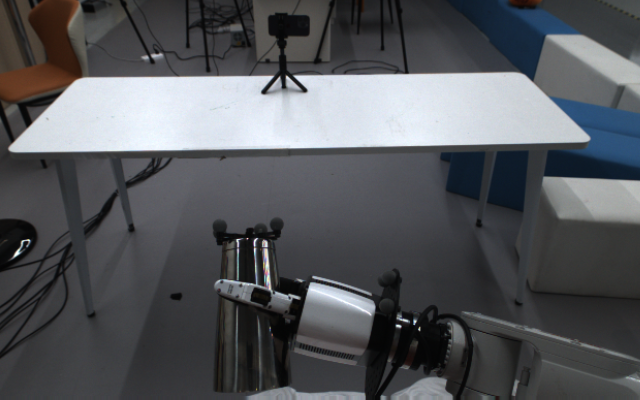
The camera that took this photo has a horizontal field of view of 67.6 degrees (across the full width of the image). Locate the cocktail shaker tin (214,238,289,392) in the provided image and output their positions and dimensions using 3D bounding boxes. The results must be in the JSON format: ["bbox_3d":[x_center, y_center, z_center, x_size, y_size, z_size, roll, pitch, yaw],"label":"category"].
[{"bbox_3d":[-0.084,0.137,0.586,0.093,0.093,0.170,-3,76,-7],"label":"cocktail shaker tin"}]
